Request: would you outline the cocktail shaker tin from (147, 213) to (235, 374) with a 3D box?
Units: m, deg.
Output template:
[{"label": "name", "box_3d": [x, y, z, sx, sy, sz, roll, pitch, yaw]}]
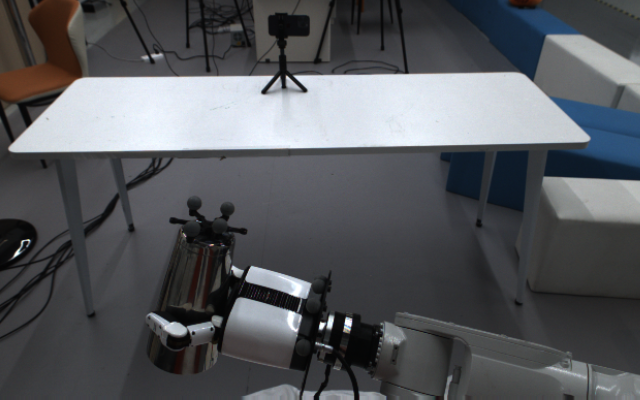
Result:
[{"label": "cocktail shaker tin", "box_3d": [-0.151, 0.115, 0.592, 0.093, 0.170, 0.093, 15, 20, -5]}]
